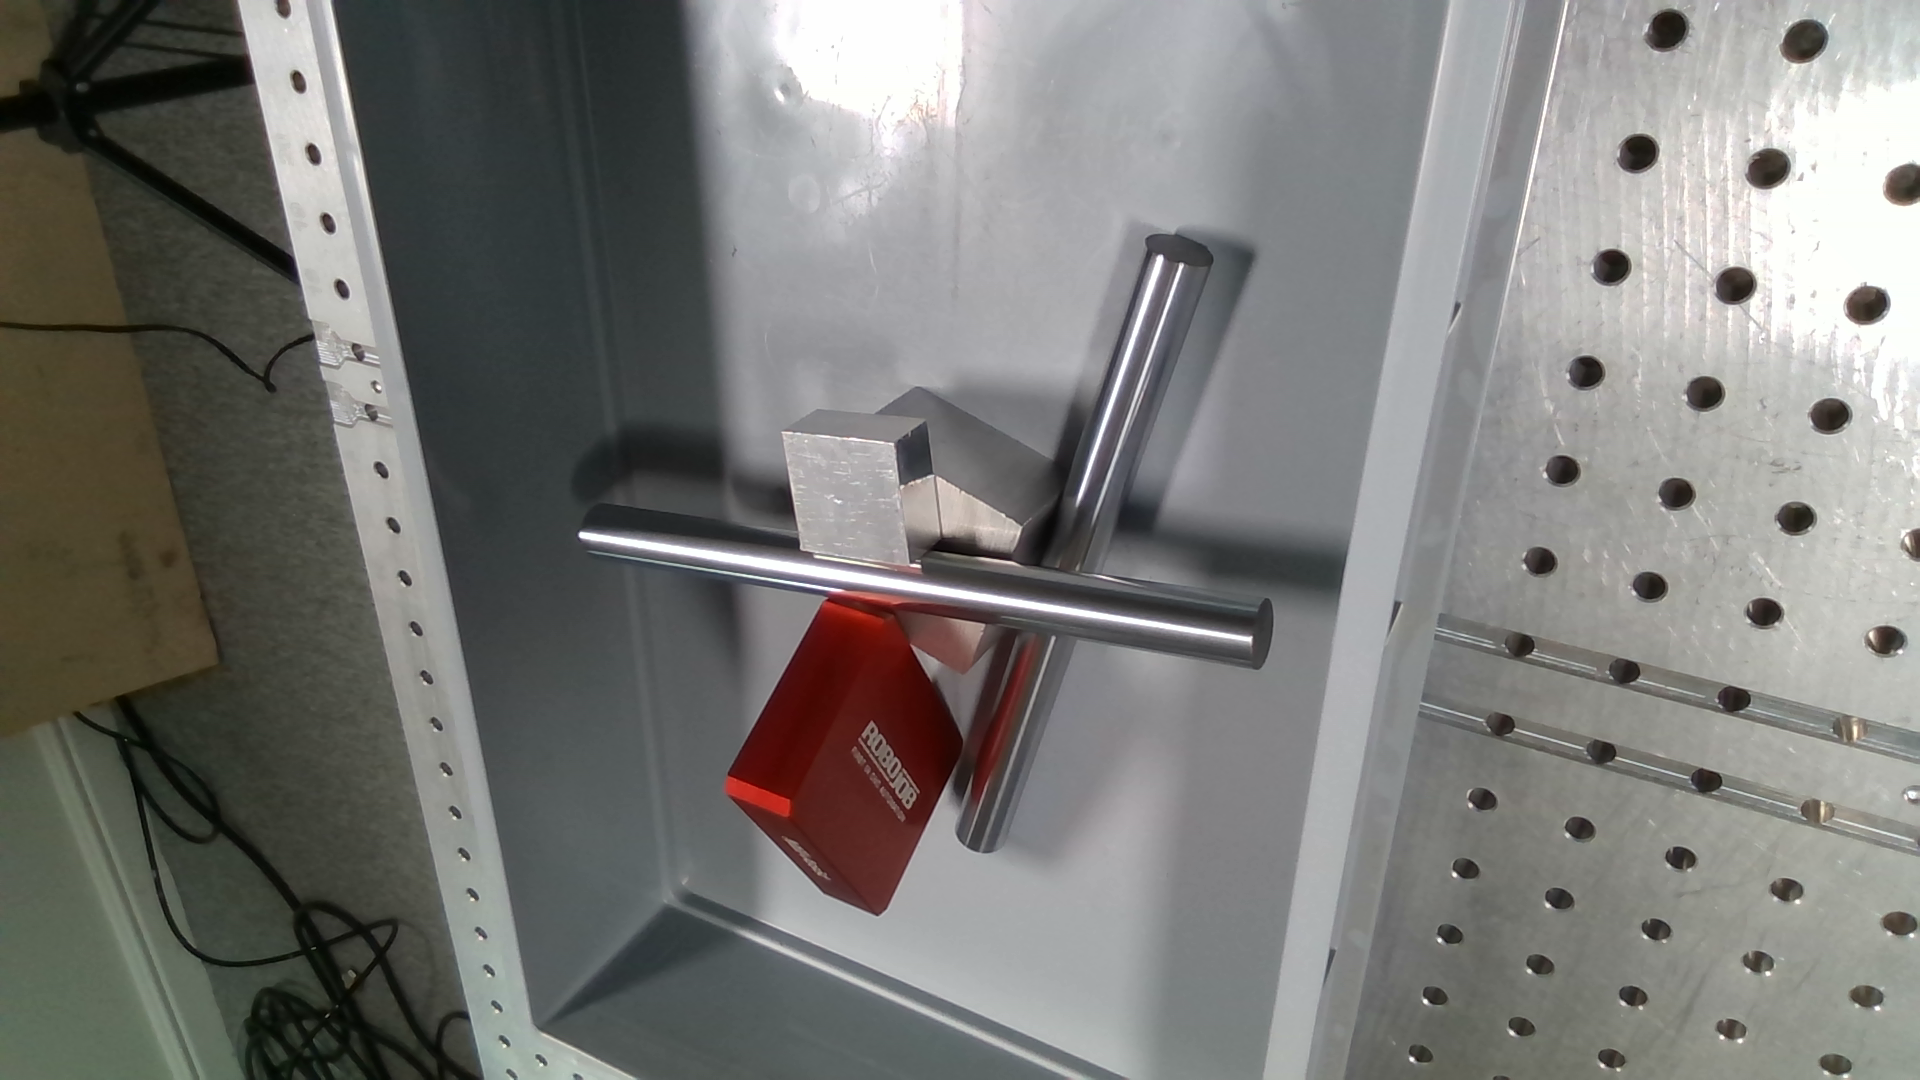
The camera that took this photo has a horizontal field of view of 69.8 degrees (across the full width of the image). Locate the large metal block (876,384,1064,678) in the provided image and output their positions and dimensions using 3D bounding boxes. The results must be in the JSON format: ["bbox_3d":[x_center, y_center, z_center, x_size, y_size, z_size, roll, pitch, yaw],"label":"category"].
[{"bbox_3d":[-0.009,-0.004,0.566,0.080,0.050,0.080,30,127,15],"label":"large metal block"}]

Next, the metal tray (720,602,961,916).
[{"bbox_3d":[-0.045,0.096,0.583,0.030,0.090,0.130,16,154,25],"label":"metal tray"}]

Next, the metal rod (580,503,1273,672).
[{"bbox_3d":[-0.028,0.014,0.539,0.300,0.025,0.025,8,119,28],"label":"metal rod"}]

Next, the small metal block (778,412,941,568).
[{"bbox_3d":[-0.038,-0.020,0.526,0.050,0.025,0.050,8,119,28],"label":"small metal block"}]

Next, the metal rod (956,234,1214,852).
[{"bbox_3d":[0.043,0.018,0.563,0.025,0.025,0.301,27,126,16],"label":"metal rod"}]
